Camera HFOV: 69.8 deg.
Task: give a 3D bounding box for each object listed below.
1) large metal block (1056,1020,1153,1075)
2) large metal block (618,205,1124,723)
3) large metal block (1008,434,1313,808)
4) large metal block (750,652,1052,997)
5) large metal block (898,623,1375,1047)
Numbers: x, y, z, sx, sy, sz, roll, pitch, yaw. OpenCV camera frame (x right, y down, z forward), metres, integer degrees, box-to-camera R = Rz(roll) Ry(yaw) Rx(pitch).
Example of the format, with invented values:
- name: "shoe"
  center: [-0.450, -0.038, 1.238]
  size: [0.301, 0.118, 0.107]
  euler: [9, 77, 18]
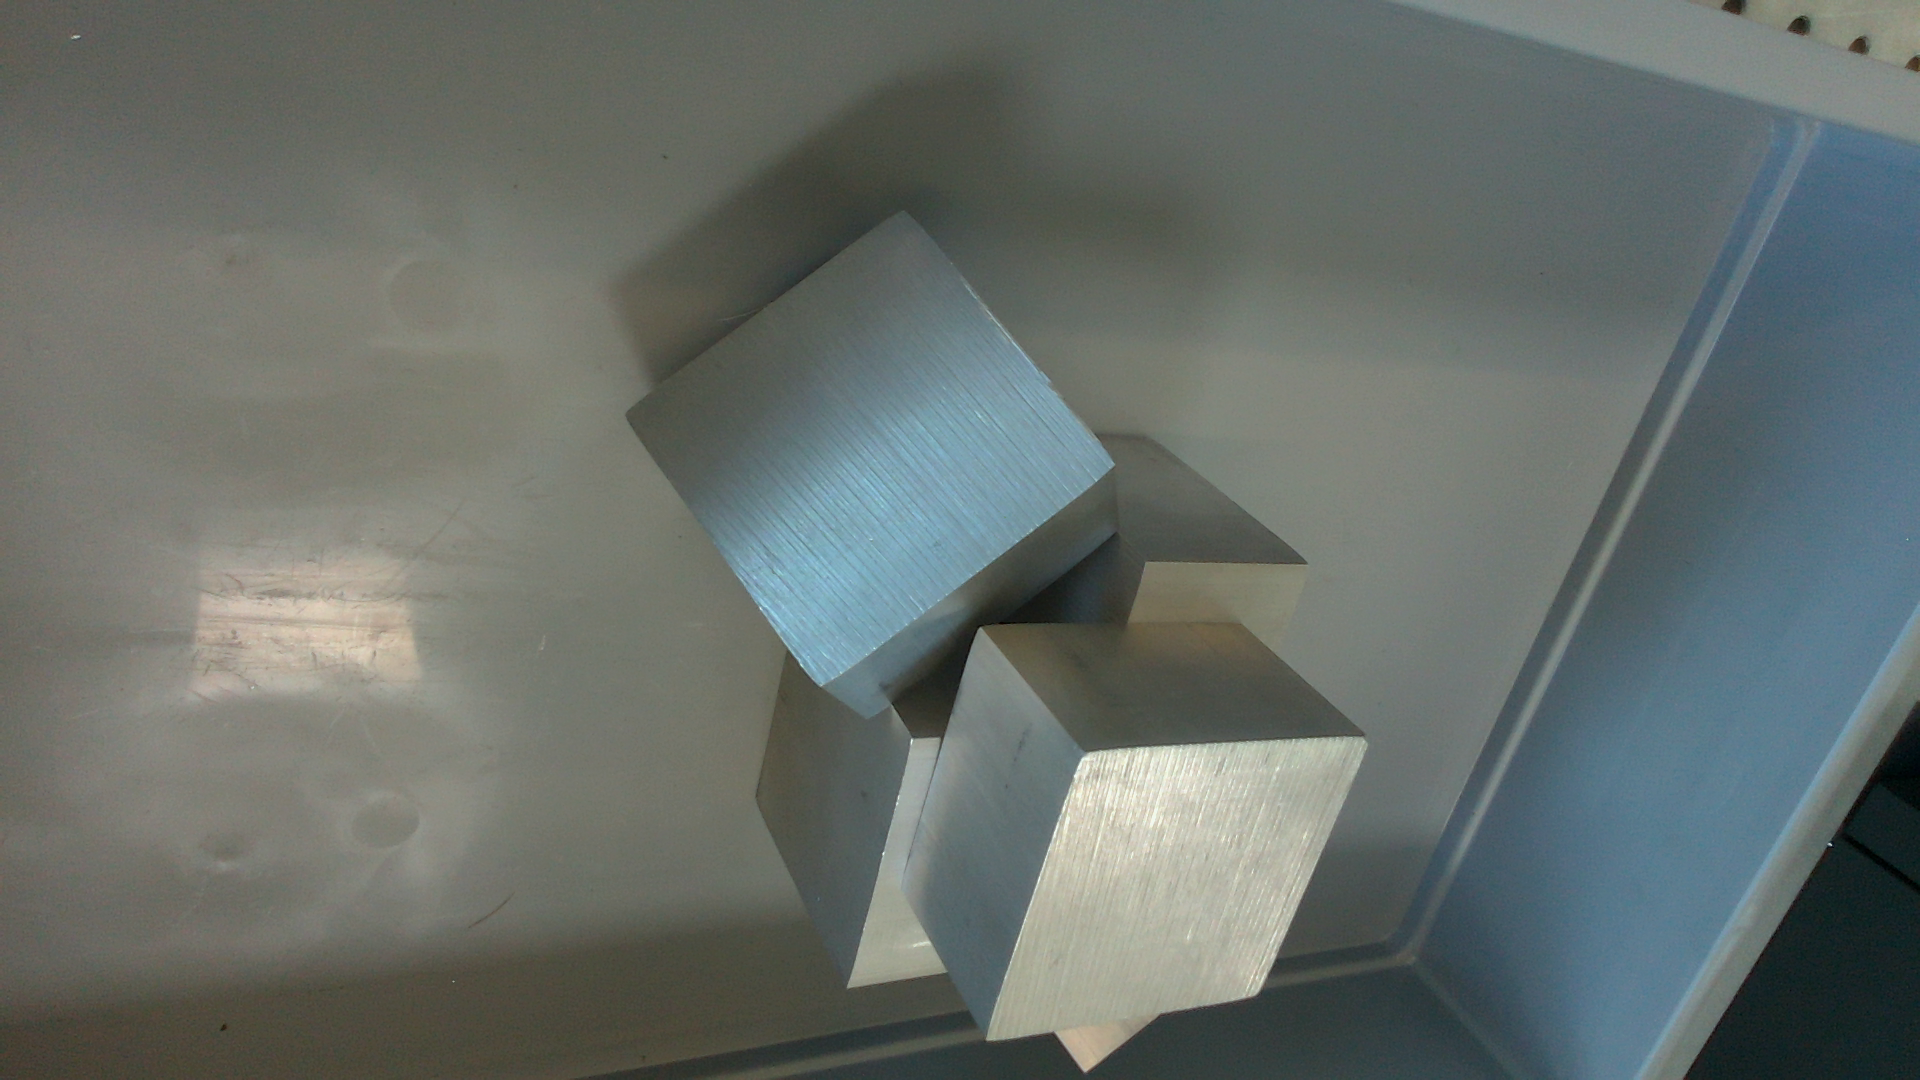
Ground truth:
- name: "large metal block"
  center: [0.049, 0.110, 0.436]
  size: [0.080, 0.080, 0.050]
  euler: [-36, 94, -5]
- name: "large metal block"
  center: [-0.018, -0.015, 0.324]
  size: [0.080, 0.080, 0.050]
  euler: [-37, 164, -4]
- name: "large metal block"
  center: [0.042, 0.022, 0.387]
  size: [0.050, 0.080, 0.080]
  euler: [1, 118, -29]
- name: "large metal block"
  center: [-0.016, 0.065, 0.384]
  size: [0.050, 0.080, 0.080]
  euler: [1, 118, -29]
- name: "large metal block"
  center: [0.040, 0.067, 0.331]
  size: [0.080, 0.050, 0.080]
  euler: [2, 118, -29]
